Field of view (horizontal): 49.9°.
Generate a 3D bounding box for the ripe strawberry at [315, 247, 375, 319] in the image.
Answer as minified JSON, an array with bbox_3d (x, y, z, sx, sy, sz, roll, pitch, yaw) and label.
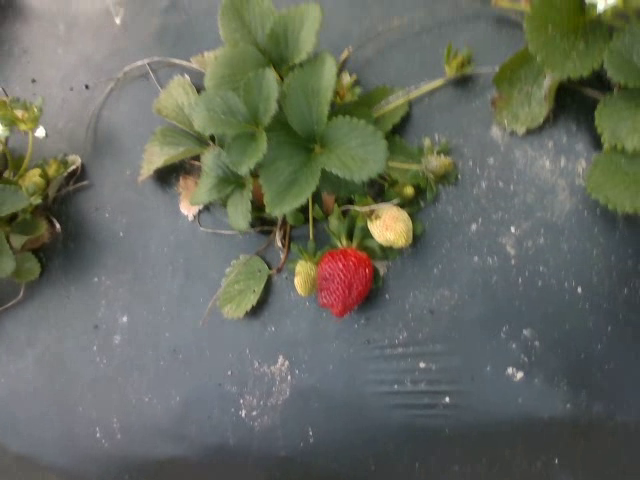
[{"bbox_3d":[0.015,0.033,0.478,0.046,0.059,0.046,-9,-44,30],"label":"ripe strawberry"}]
